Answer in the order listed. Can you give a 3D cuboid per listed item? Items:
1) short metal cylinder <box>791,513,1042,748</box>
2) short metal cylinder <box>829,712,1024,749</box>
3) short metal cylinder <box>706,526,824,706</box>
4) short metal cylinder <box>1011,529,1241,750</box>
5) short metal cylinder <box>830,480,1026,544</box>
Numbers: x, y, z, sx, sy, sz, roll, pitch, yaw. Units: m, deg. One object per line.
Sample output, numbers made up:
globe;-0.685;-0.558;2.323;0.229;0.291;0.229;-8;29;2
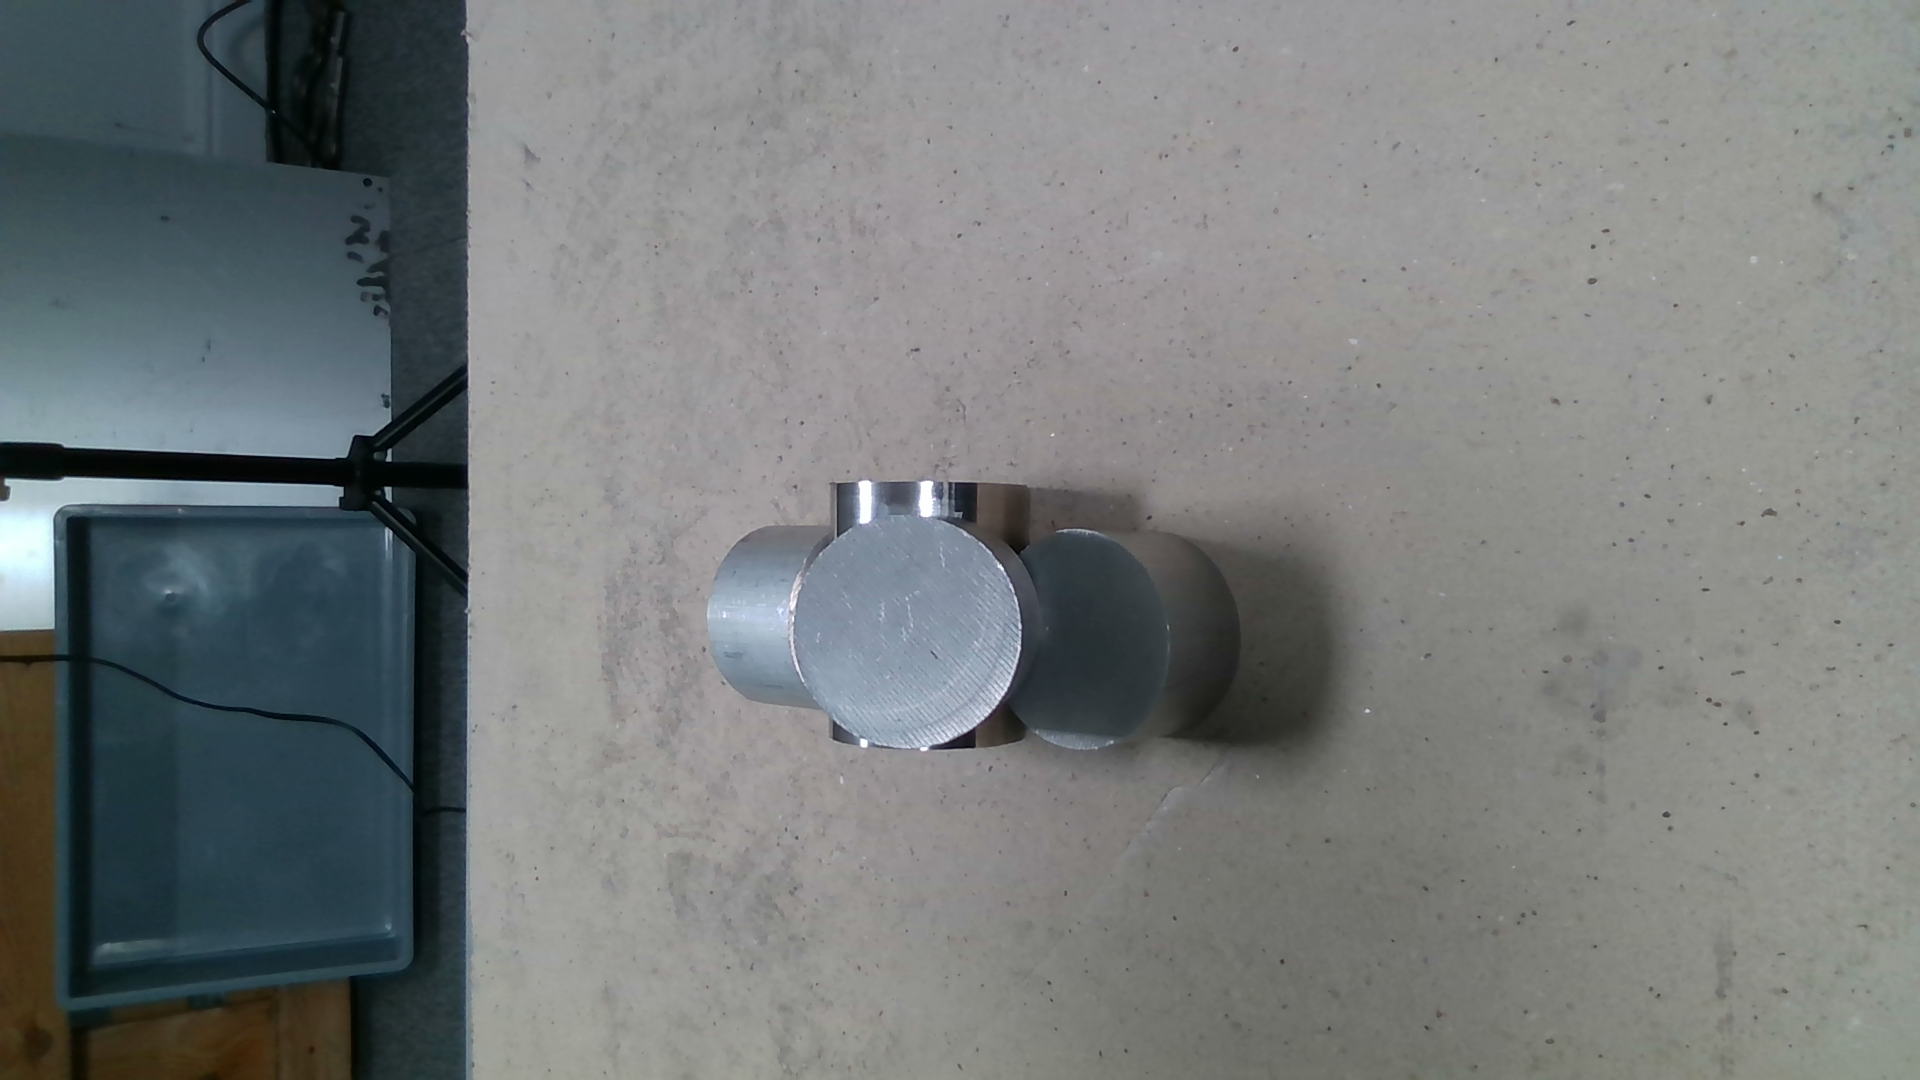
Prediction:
short metal cylinder;-0.014;0.031;0.492;0.080;0.050;0.080;0;91;12
short metal cylinder;-0.014;0.054;0.558;0.080;0.080;0.050;0;90;40
short metal cylinder;-0.063;0.033;0.600;0.050;0.080;0.080;0;91;40
short metal cylinder;0.058;0.036;0.518;0.080;0.050;0.080;0;91;40
short metal cylinder;-0.013;0.002;0.558;0.080;0.080;0.050;1;91;40
